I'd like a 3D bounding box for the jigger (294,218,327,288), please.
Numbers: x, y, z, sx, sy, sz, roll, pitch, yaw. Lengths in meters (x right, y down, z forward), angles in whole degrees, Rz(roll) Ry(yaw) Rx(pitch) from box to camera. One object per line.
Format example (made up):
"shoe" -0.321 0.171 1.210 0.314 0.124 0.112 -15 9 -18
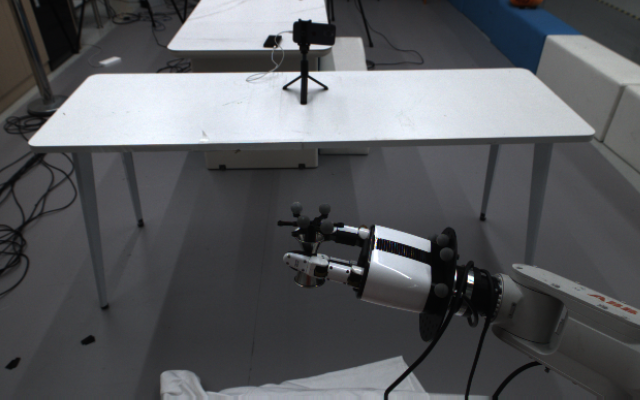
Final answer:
"jigger" -0.014 0.079 0.670 0.043 0.071 0.043 1 20 0
